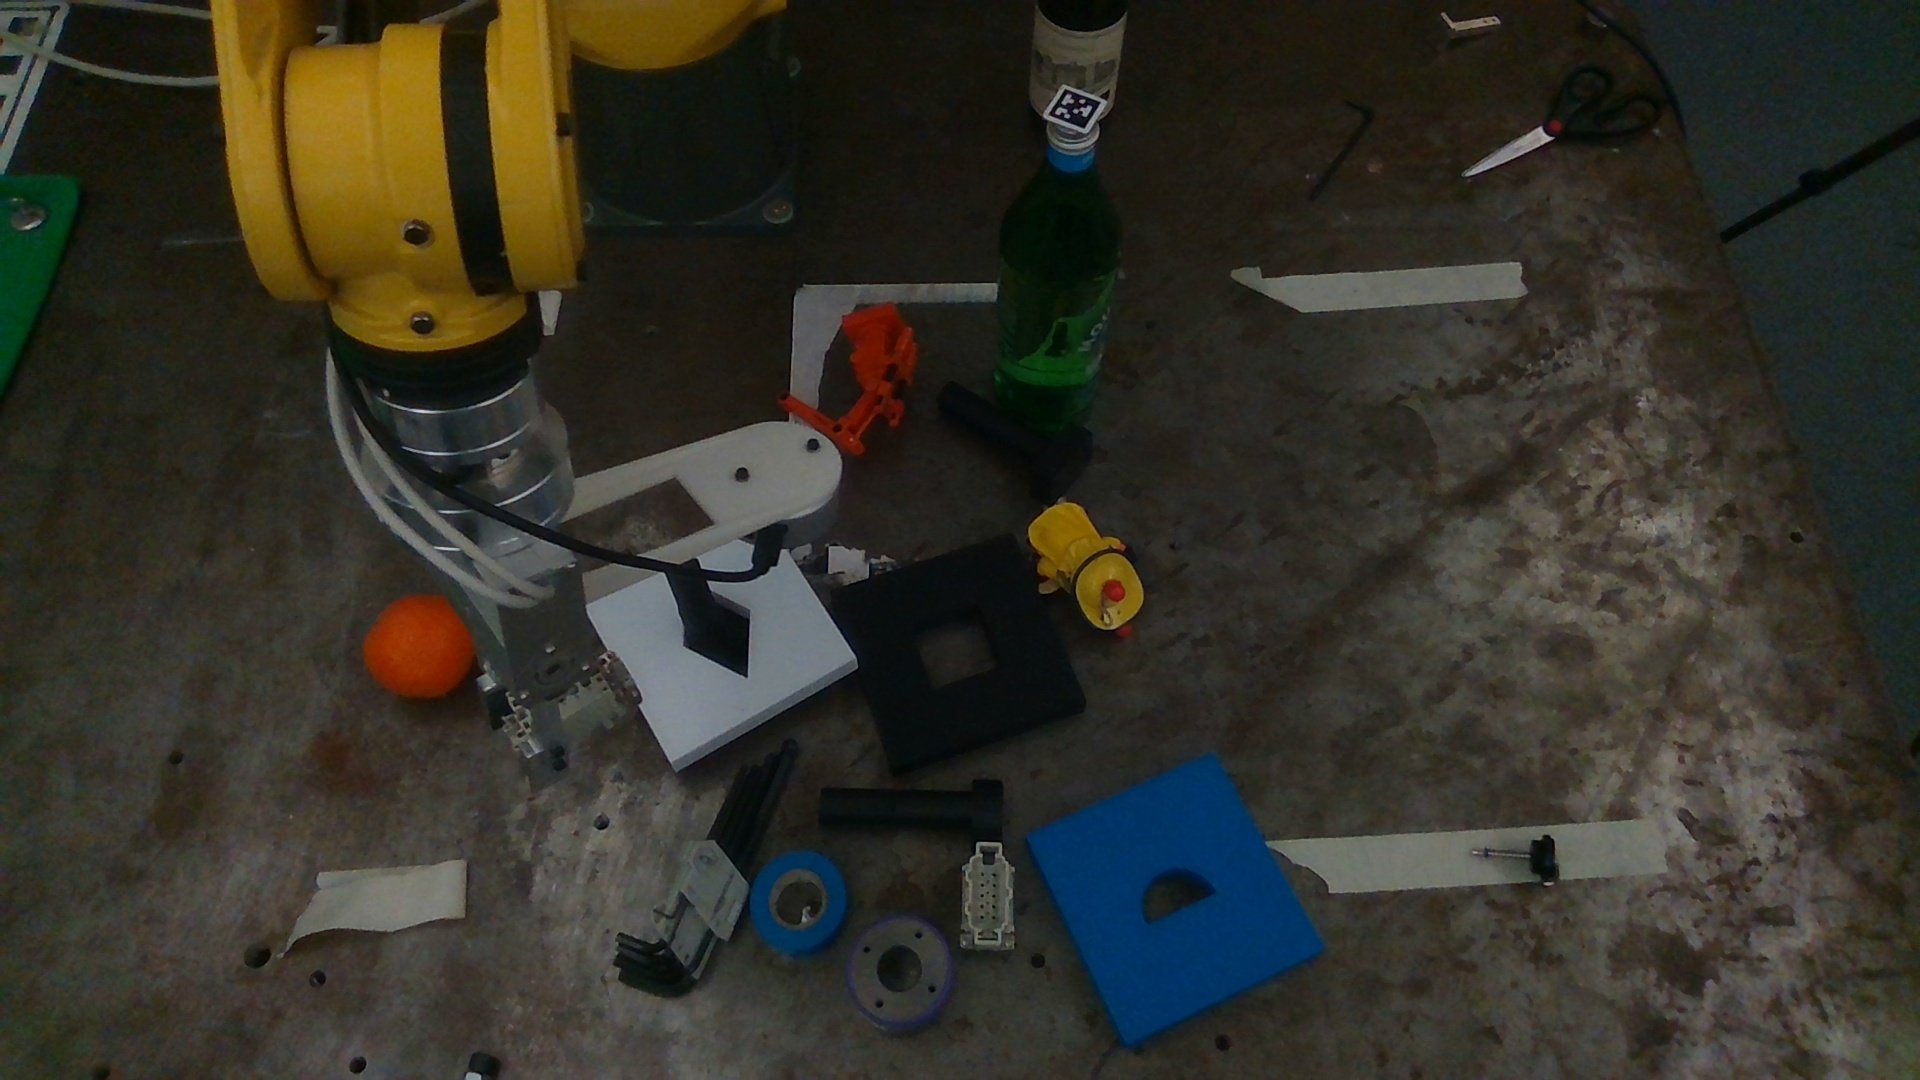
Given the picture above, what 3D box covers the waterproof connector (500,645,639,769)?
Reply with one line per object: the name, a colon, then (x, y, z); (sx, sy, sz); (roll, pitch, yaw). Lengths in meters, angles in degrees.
waterproof connector: (-0.207, 0.087, 0.731); (0.069, 0.038, 0.037); (-35, 58, -14)
